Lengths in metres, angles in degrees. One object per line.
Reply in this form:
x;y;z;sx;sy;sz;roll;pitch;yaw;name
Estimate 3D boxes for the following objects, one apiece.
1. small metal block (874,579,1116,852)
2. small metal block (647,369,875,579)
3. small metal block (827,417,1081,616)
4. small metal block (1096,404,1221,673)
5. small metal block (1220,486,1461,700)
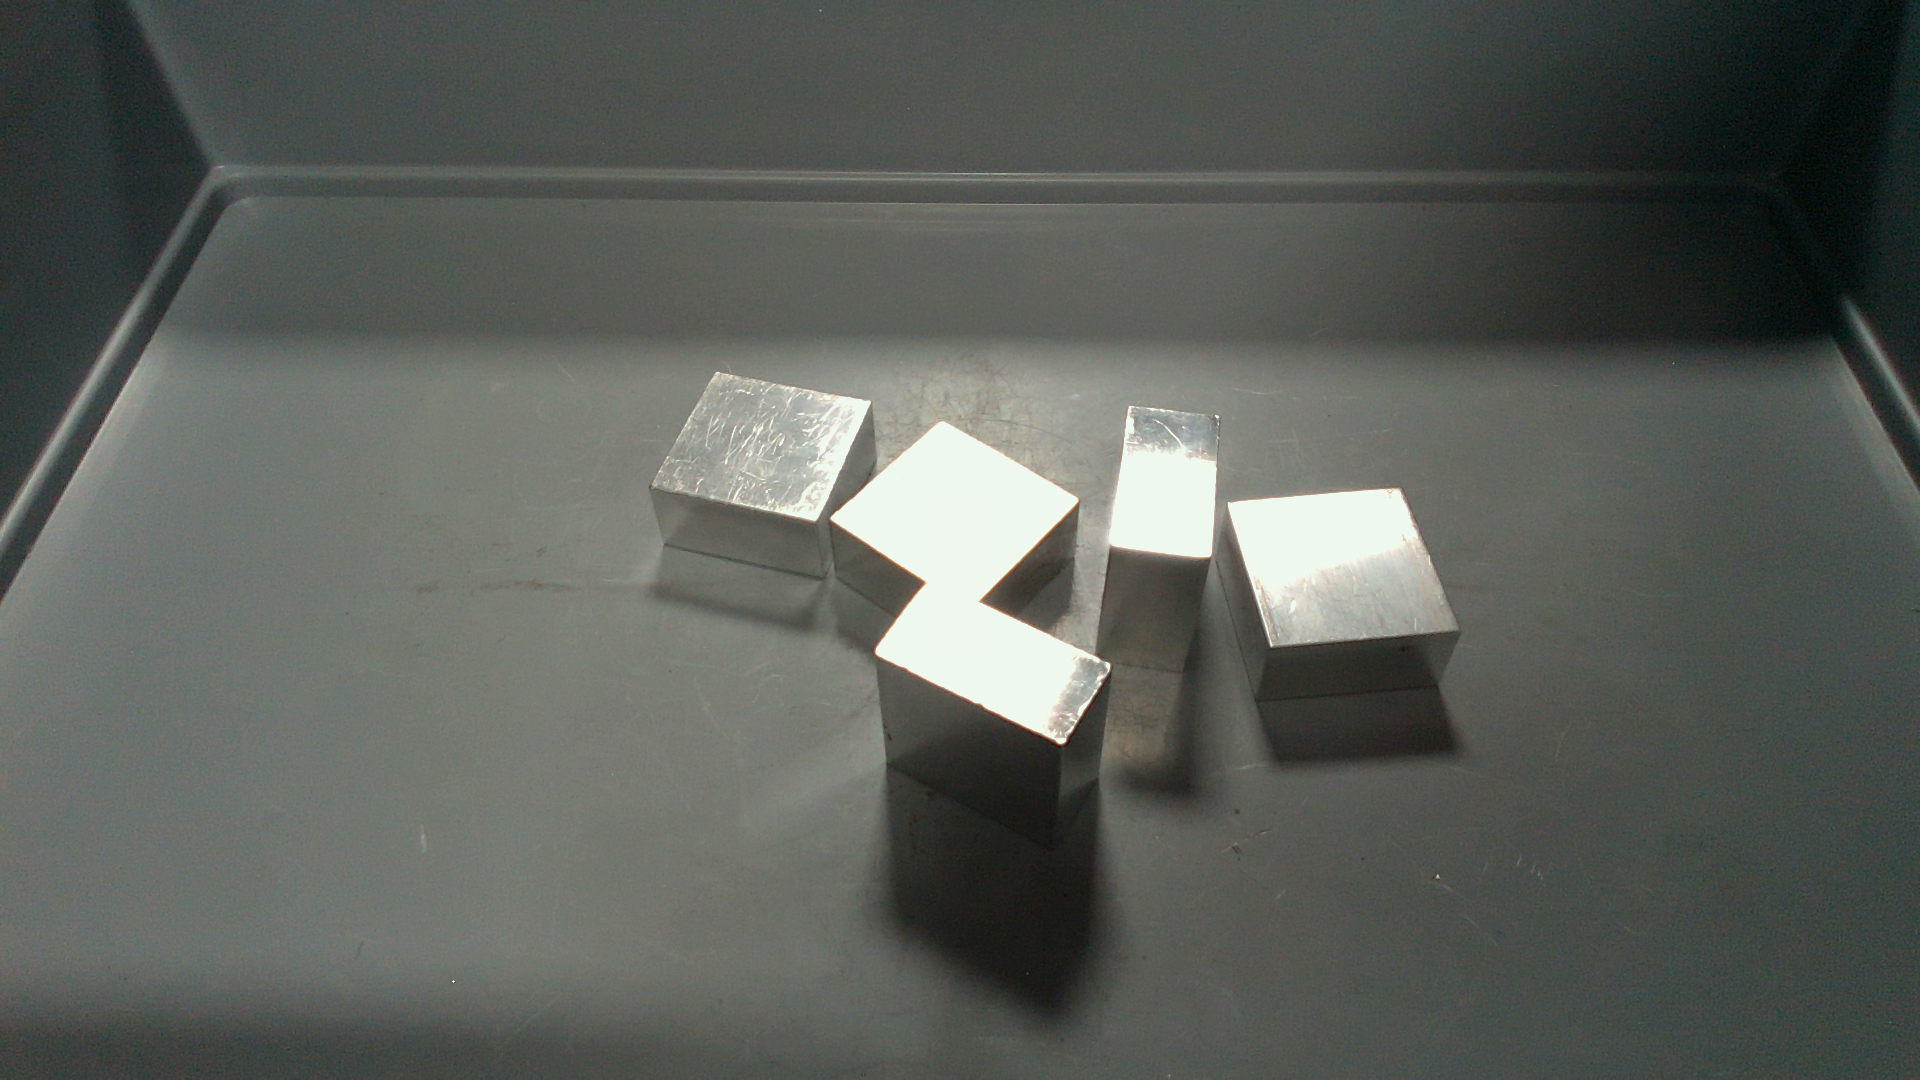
0.008;0.043;0.336;0.050;0.050;0.025;25;55;19;small metal block
-0.057;-0.020;0.406;0.050;0.025;0.050;12;51;10;small metal block
-0.001;-0.001;0.389;0.050;0.025;0.050;31;57;24;small metal block
0.054;0.000;0.374;0.025;0.050;0.050;7;50;6;small metal block
0.102;0.014;0.377;0.050;0.025;0.050;-4;50;-4;small metal block
